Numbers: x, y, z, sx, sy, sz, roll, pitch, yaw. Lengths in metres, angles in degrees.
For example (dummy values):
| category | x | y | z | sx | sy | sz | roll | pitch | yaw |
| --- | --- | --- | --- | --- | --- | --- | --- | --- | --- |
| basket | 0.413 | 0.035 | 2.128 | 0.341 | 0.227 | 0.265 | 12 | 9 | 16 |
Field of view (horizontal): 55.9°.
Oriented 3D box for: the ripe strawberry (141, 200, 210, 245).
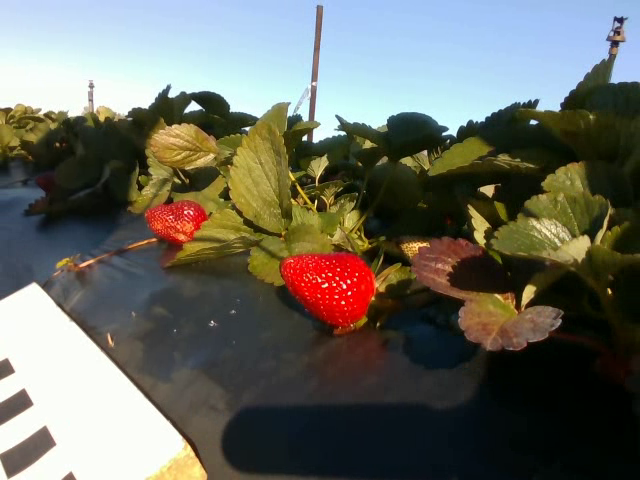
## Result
| category | x | y | z | sx | sy | sz | roll | pitch | yaw |
| --- | --- | --- | --- | --- | --- | --- | --- | --- | --- |
| ripe strawberry | -0.109 | -0.014 | 0.458 | 0.053 | 0.043 | 0.041 | 15 | 11 | -32 |

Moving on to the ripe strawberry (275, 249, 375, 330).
| category | x | y | z | sx | sy | sz | roll | pitch | yaw |
| --- | --- | --- | --- | --- | --- | --- | --- | --- | --- |
| ripe strawberry | 0.000 | 0.021 | 0.286 | 0.050 | 0.043 | 0.043 | 23 | 24 | -17 |
